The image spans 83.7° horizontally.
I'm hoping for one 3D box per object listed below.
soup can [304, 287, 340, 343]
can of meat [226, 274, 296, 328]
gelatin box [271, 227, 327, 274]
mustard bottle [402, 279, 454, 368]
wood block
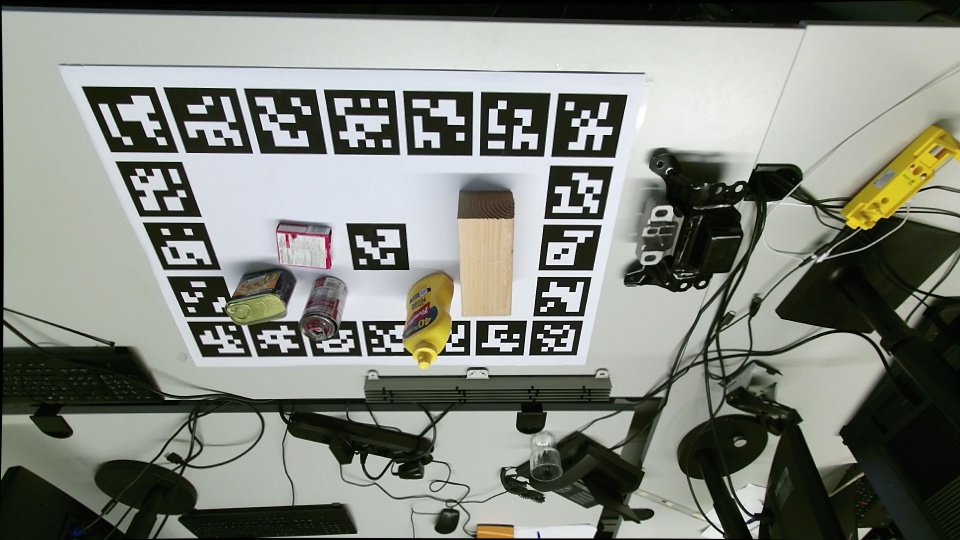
[{"bbox_3d":[-0.292,0.085,0.959,0.068,0.101,0.068,-1,125,-2],"label":"soup can"},{"bbox_3d":[-0.390,0.057,0.957,0.102,0.083,0.058,-10,125,8],"label":"can of meat"},{"bbox_3d":[-0.311,-0.032,0.921,0.090,0.030,0.073,7,124,-10],"label":"gelatin box"},{"bbox_3d":[-0.096,0.098,0.937,0.096,0.190,0.058,-21,125,14],"label":"mustard bottle"},{"bbox_3d":[0.003,-0.014,0.914,0.091,0.089,0.206,2,130,-1],"label":"wood block"}]
